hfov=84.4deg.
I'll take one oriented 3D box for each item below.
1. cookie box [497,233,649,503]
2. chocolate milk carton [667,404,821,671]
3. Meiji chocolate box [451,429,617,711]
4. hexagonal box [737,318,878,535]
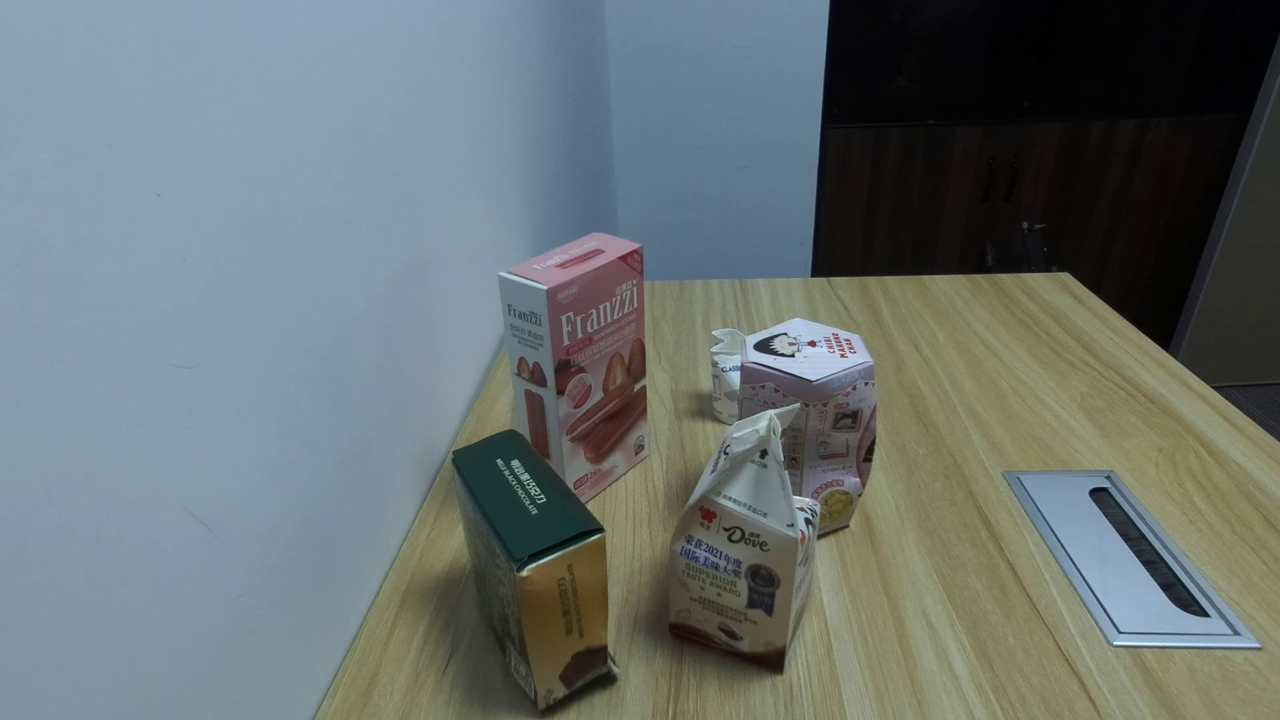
[{"bbox_3d":[-0.042,0.011,0.521,0.048,0.185,0.096,21,37,34],"label":"cookie box"},{"bbox_3d":[0.063,0.089,0.400,0.073,0.156,0.076,12,33,23],"label":"chocolate milk carton"},{"bbox_3d":[-0.063,0.118,0.406,0.059,0.116,0.122,-16,30,-25],"label":"Meiji chocolate box"},{"bbox_3d":[0.110,0.051,0.485,0.093,0.135,0.088,-18,32,-27],"label":"hexagonal box"}]
